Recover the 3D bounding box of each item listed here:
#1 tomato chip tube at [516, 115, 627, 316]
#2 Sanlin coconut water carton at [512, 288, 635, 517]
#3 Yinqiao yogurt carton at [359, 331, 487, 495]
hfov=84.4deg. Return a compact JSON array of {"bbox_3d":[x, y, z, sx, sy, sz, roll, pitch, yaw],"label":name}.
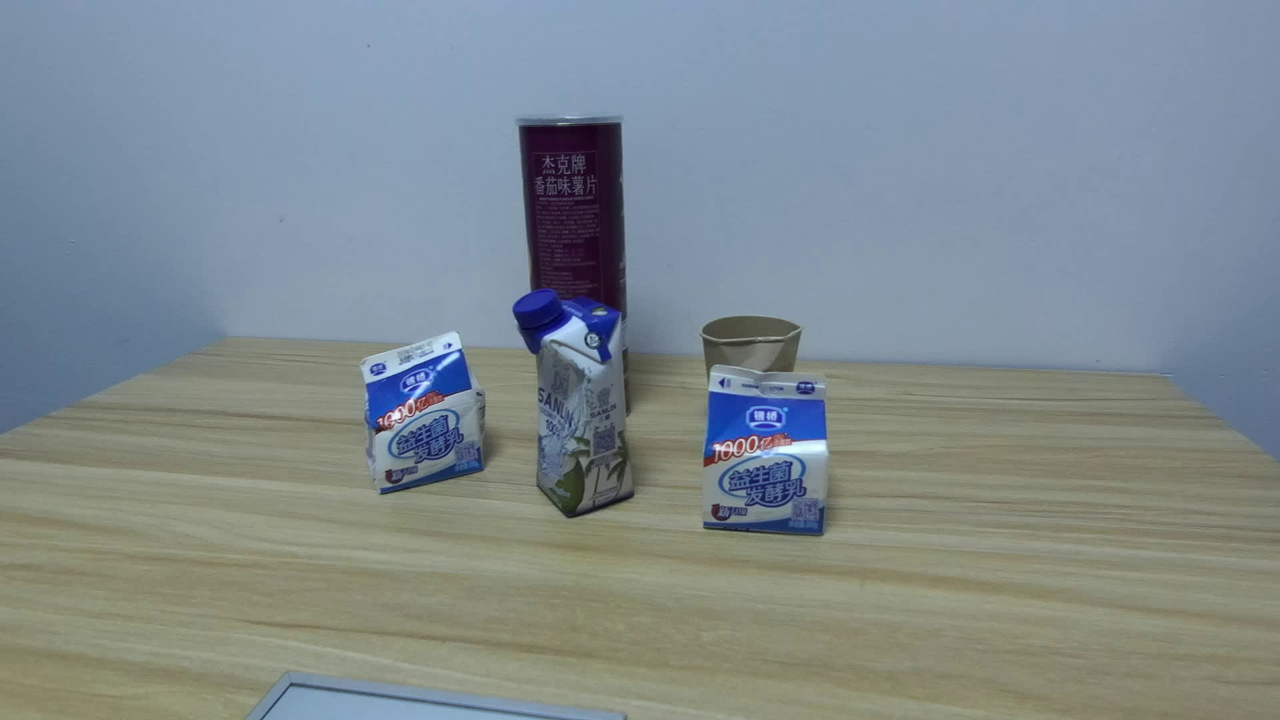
[{"bbox_3d":[-0.048,-0.064,0.548,0.078,0.234,0.078,-1,16,1],"label":"tomato chip tube"},{"bbox_3d":[-0.042,0.023,0.447,0.058,0.142,0.077,-18,25,-26],"label":"Sanlin coconut water carton"},{"bbox_3d":[-0.156,0.029,0.505,0.083,0.093,0.077,-11,23,-23],"label":"Yinqiao yogurt carton"}]
